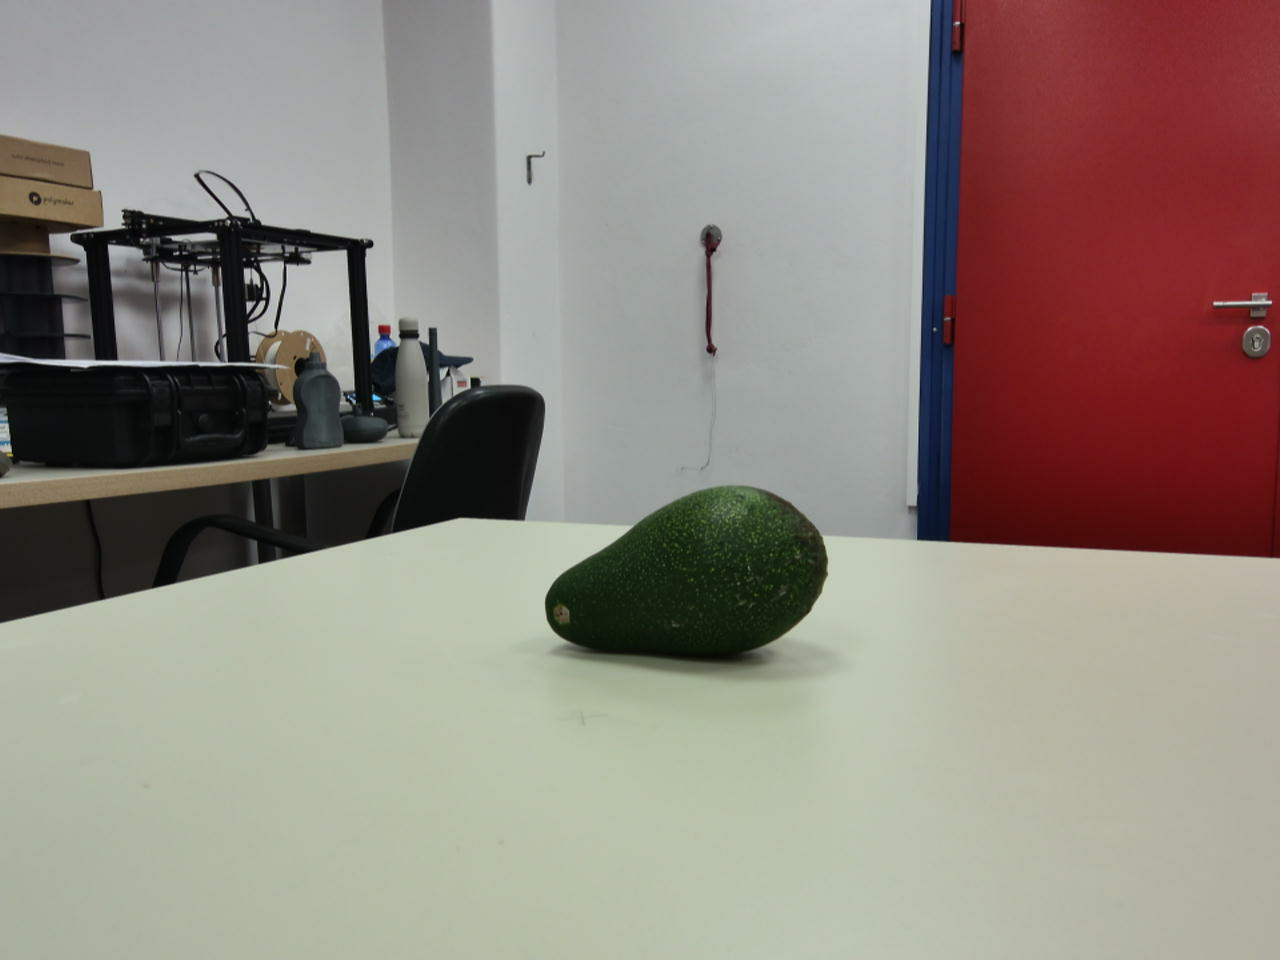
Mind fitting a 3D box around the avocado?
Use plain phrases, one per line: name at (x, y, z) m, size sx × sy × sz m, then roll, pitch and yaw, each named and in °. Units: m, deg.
avocado at (0.024, 0.040, 0.450) m, size 0.123 × 0.076 × 0.074 m, roll 2°, pitch 4°, yaw 31°
